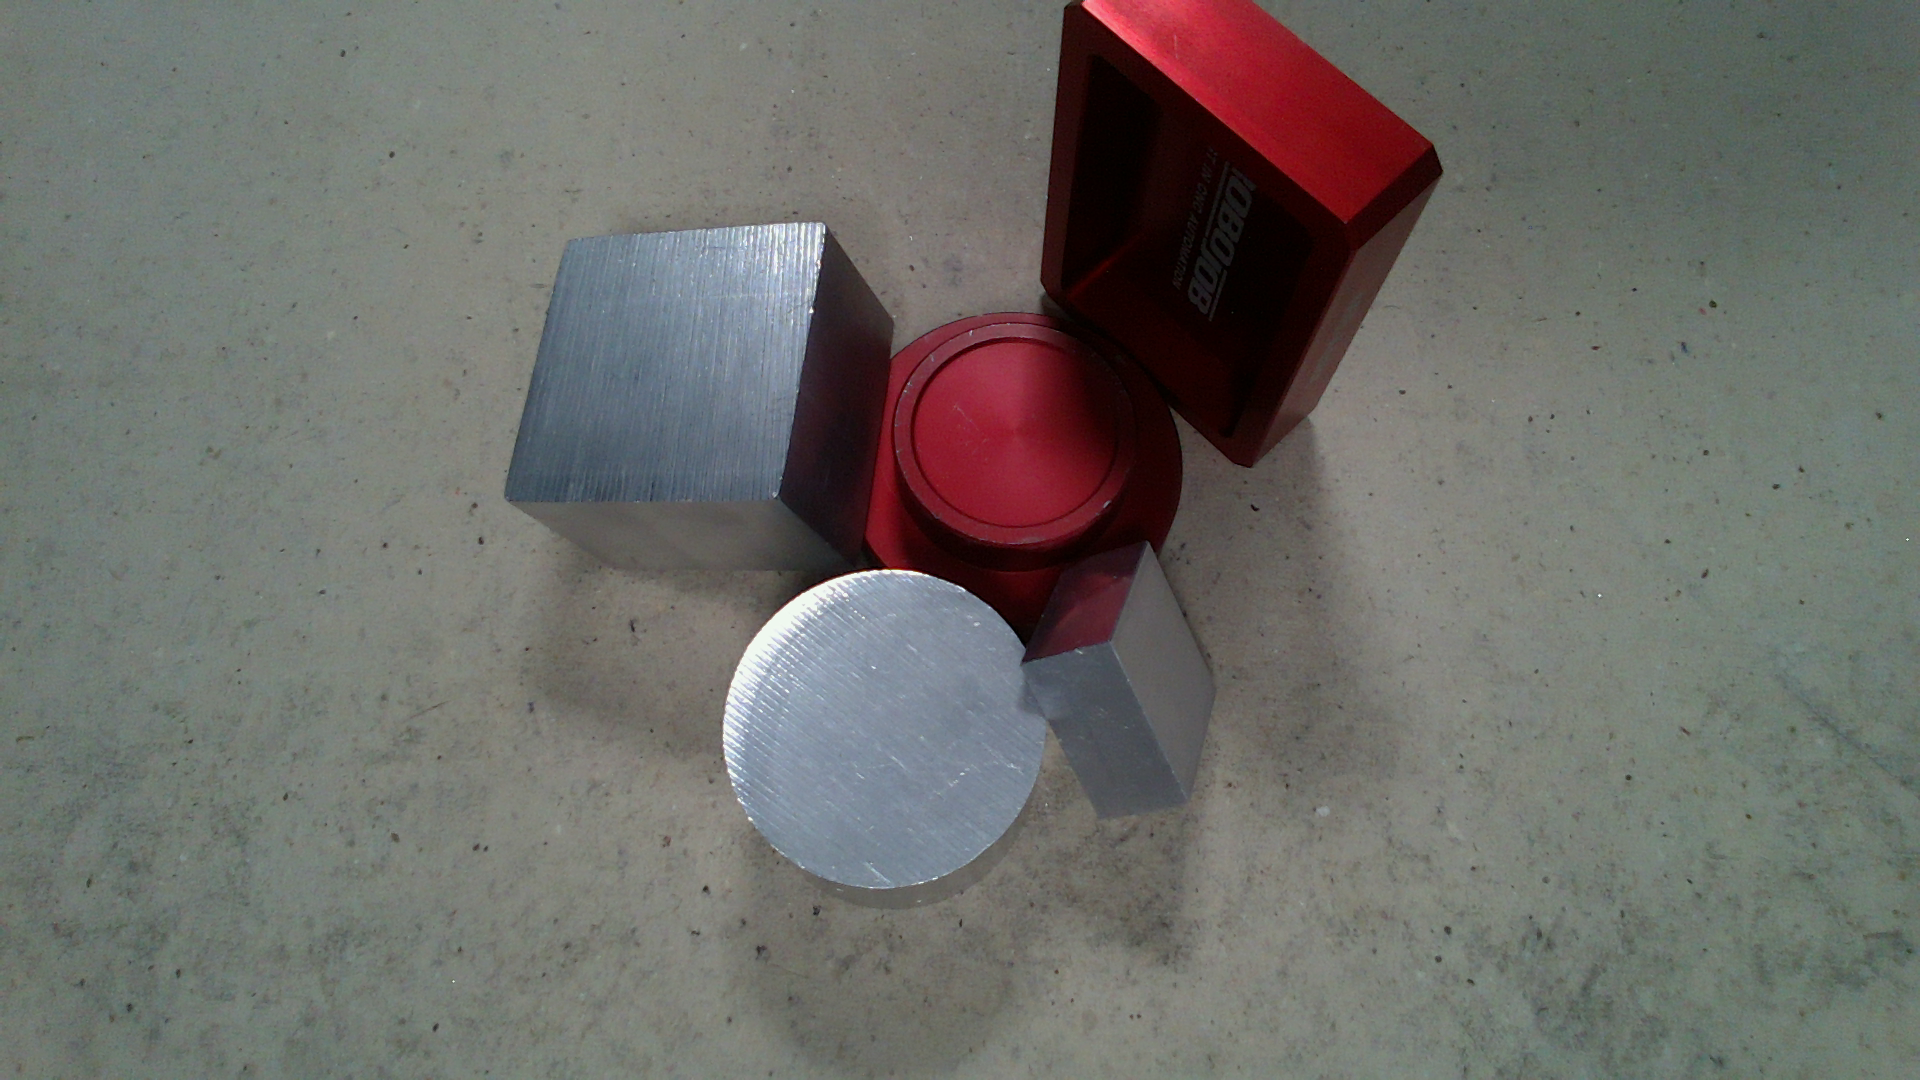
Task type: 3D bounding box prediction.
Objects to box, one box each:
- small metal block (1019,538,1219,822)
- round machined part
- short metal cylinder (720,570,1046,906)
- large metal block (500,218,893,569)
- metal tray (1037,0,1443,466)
[{"bbox_3d":[0.043,0.036,0.357,0.025,0.050,0.050,-17,112,27],"label":"small metal block"},{"bbox_3d":[0.015,-0.023,0.395,0.098,0.042,0.098,0,70,0],"label":"round machined part"},{"bbox_3d":[-0.019,0.054,0.362,0.080,0.050,0.080,0,70,0],"label":"short metal cylinder"},{"bbox_3d":[-0.070,-0.039,0.382,0.080,0.050,0.080,1,69,18],"label":"large metal block"},{"bbox_3d":[0.065,-0.082,0.368,0.030,0.130,0.090,-42,75,-14],"label":"metal tray"}]
